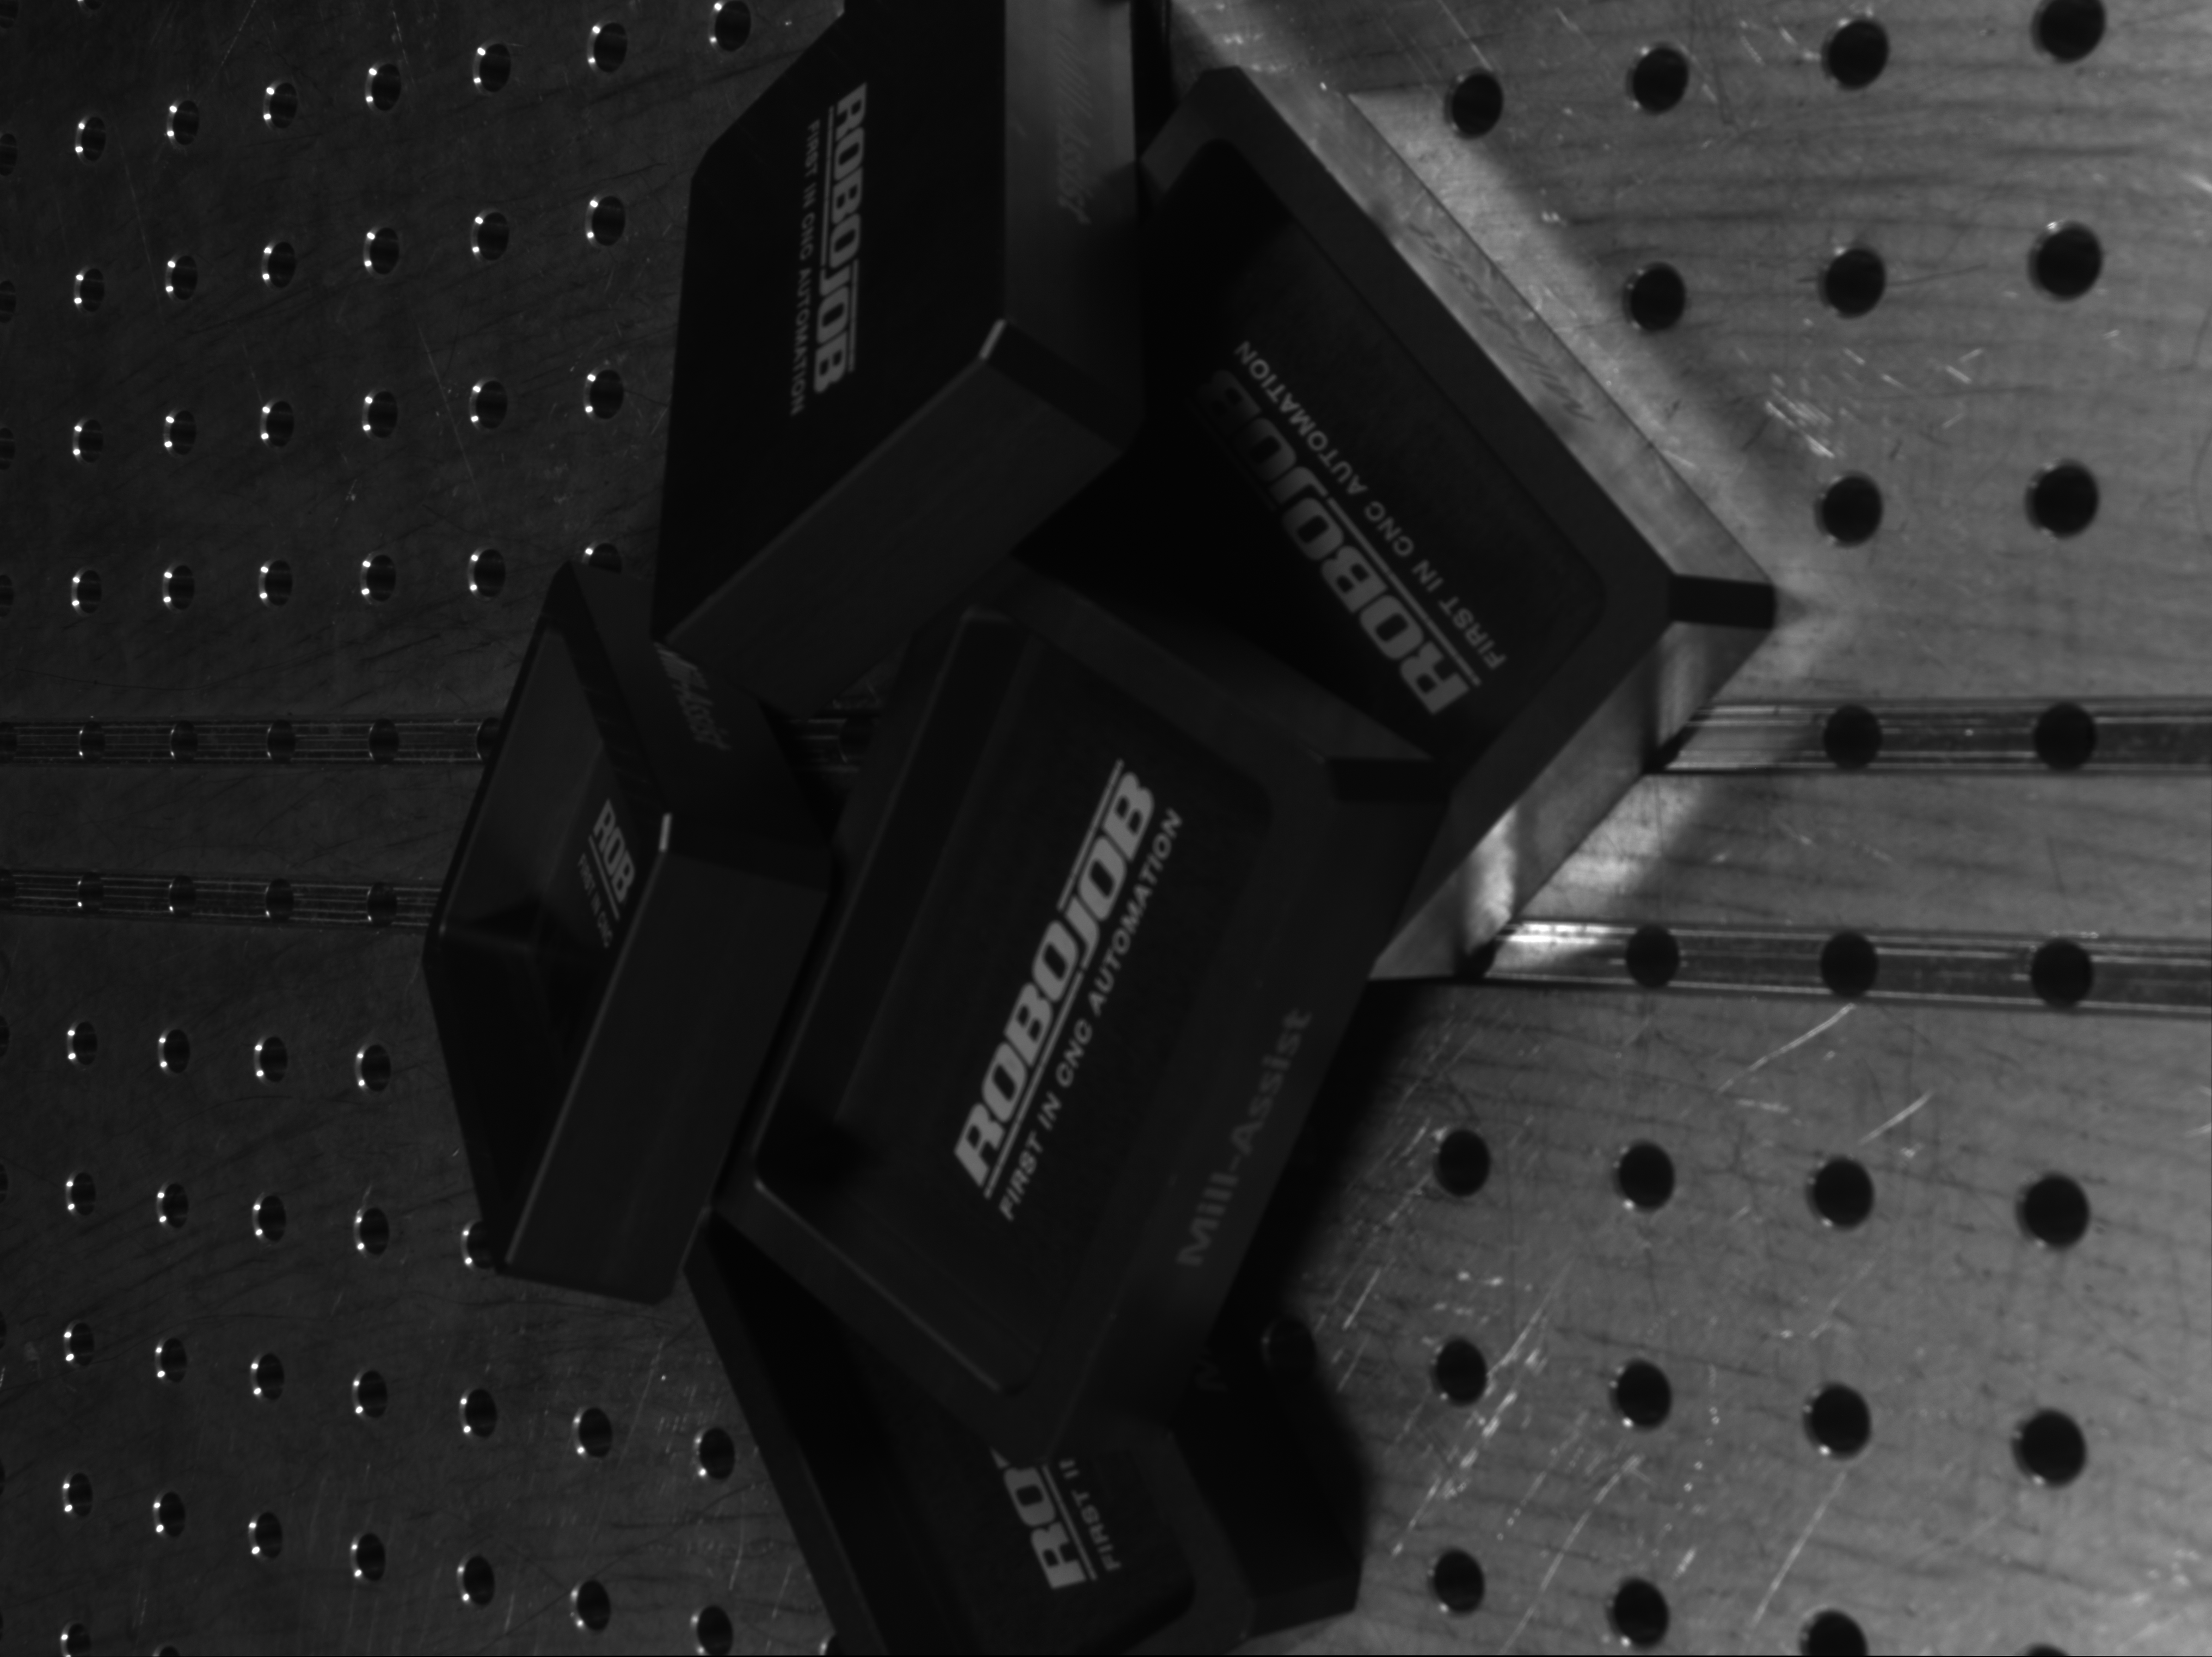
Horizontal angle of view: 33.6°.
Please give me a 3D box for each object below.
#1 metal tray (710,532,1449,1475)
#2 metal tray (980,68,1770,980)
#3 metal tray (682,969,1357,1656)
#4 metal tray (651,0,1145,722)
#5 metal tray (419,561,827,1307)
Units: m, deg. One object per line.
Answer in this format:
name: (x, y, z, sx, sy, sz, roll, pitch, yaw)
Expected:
metal tray: (-0.008, 0.028, 0.604, 0.090, 0.030, 0.130, 35, 111, 34)
metal tray: (0.037, -0.050, 0.605, 0.090, 0.030, 0.130, -51, 61, 27)
metal tray: (-0.021, 0.100, 0.652, 0.090, 0.030, 0.130, -40, 66, 32)
metal tray: (-0.036, -0.093, 0.626, 0.090, 0.030, 0.130, -37, 37, 33)
metal tray: (-0.092, 0.016, 0.672, 0.090, 0.030, 0.130, -67, 24, 17)
